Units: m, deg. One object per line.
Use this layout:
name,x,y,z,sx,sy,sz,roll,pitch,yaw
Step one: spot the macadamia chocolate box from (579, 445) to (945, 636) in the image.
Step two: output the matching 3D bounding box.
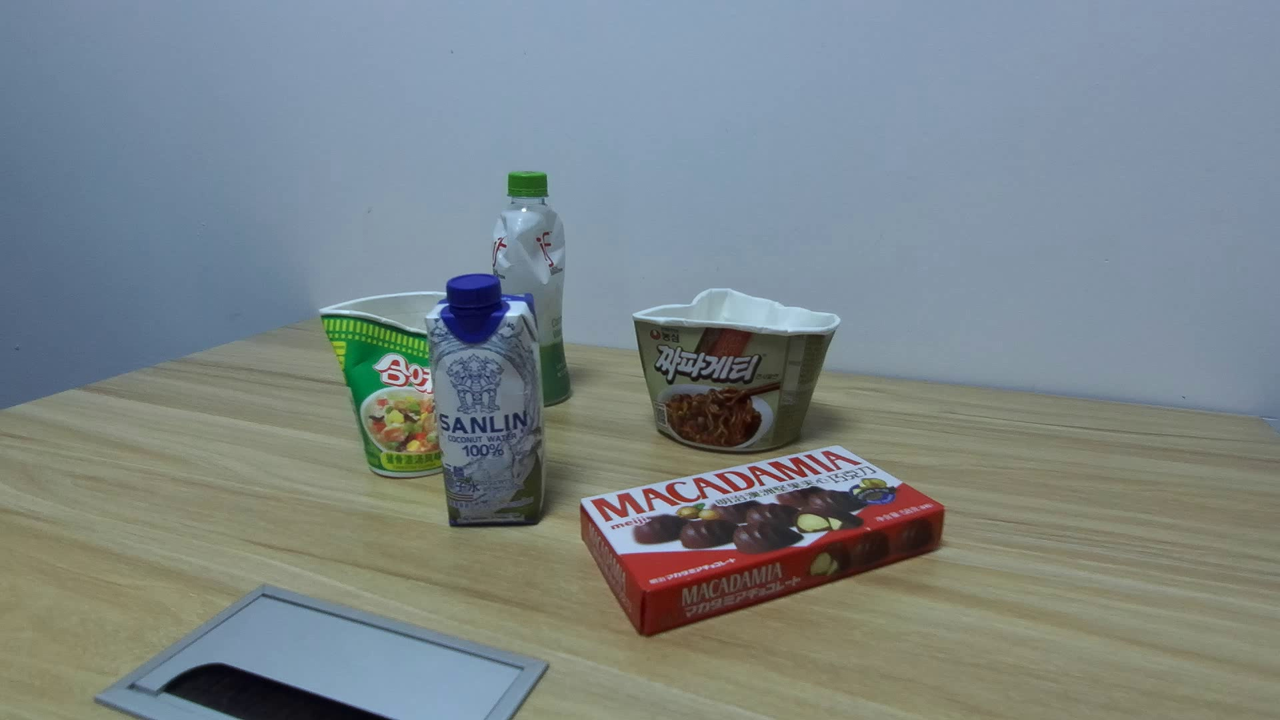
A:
macadamia chocolate box,0.065,0.090,0.387,0.178,0.027,0.095,-8,18,-21

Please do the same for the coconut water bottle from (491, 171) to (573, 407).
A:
coconut water bottle,-0.090,-0.058,0.586,0.067,0.187,0.067,1,15,0

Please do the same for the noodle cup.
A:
noodle cup,-0.154,0.014,0.484,0.082,0.122,0.075,-2,8,30

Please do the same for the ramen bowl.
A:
ramen bowl,0.078,0.006,0.528,0.133,0.097,0.114,12,22,34

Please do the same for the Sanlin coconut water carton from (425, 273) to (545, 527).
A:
Sanlin coconut water carton,-0.087,0.022,0.412,0.060,0.144,0.060,-1,17,-2
